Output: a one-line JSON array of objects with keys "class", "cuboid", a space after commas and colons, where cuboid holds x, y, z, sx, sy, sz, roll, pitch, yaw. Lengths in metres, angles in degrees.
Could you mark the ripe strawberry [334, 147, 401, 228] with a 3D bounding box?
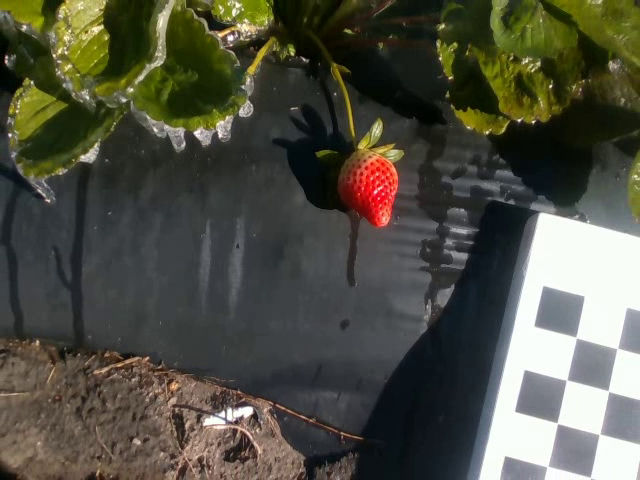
[{"class": "ripe strawberry", "cuboid": [0.030, -0.027, 0.328, 0.039, 0.053, 0.040, -6, -24, -3]}]
